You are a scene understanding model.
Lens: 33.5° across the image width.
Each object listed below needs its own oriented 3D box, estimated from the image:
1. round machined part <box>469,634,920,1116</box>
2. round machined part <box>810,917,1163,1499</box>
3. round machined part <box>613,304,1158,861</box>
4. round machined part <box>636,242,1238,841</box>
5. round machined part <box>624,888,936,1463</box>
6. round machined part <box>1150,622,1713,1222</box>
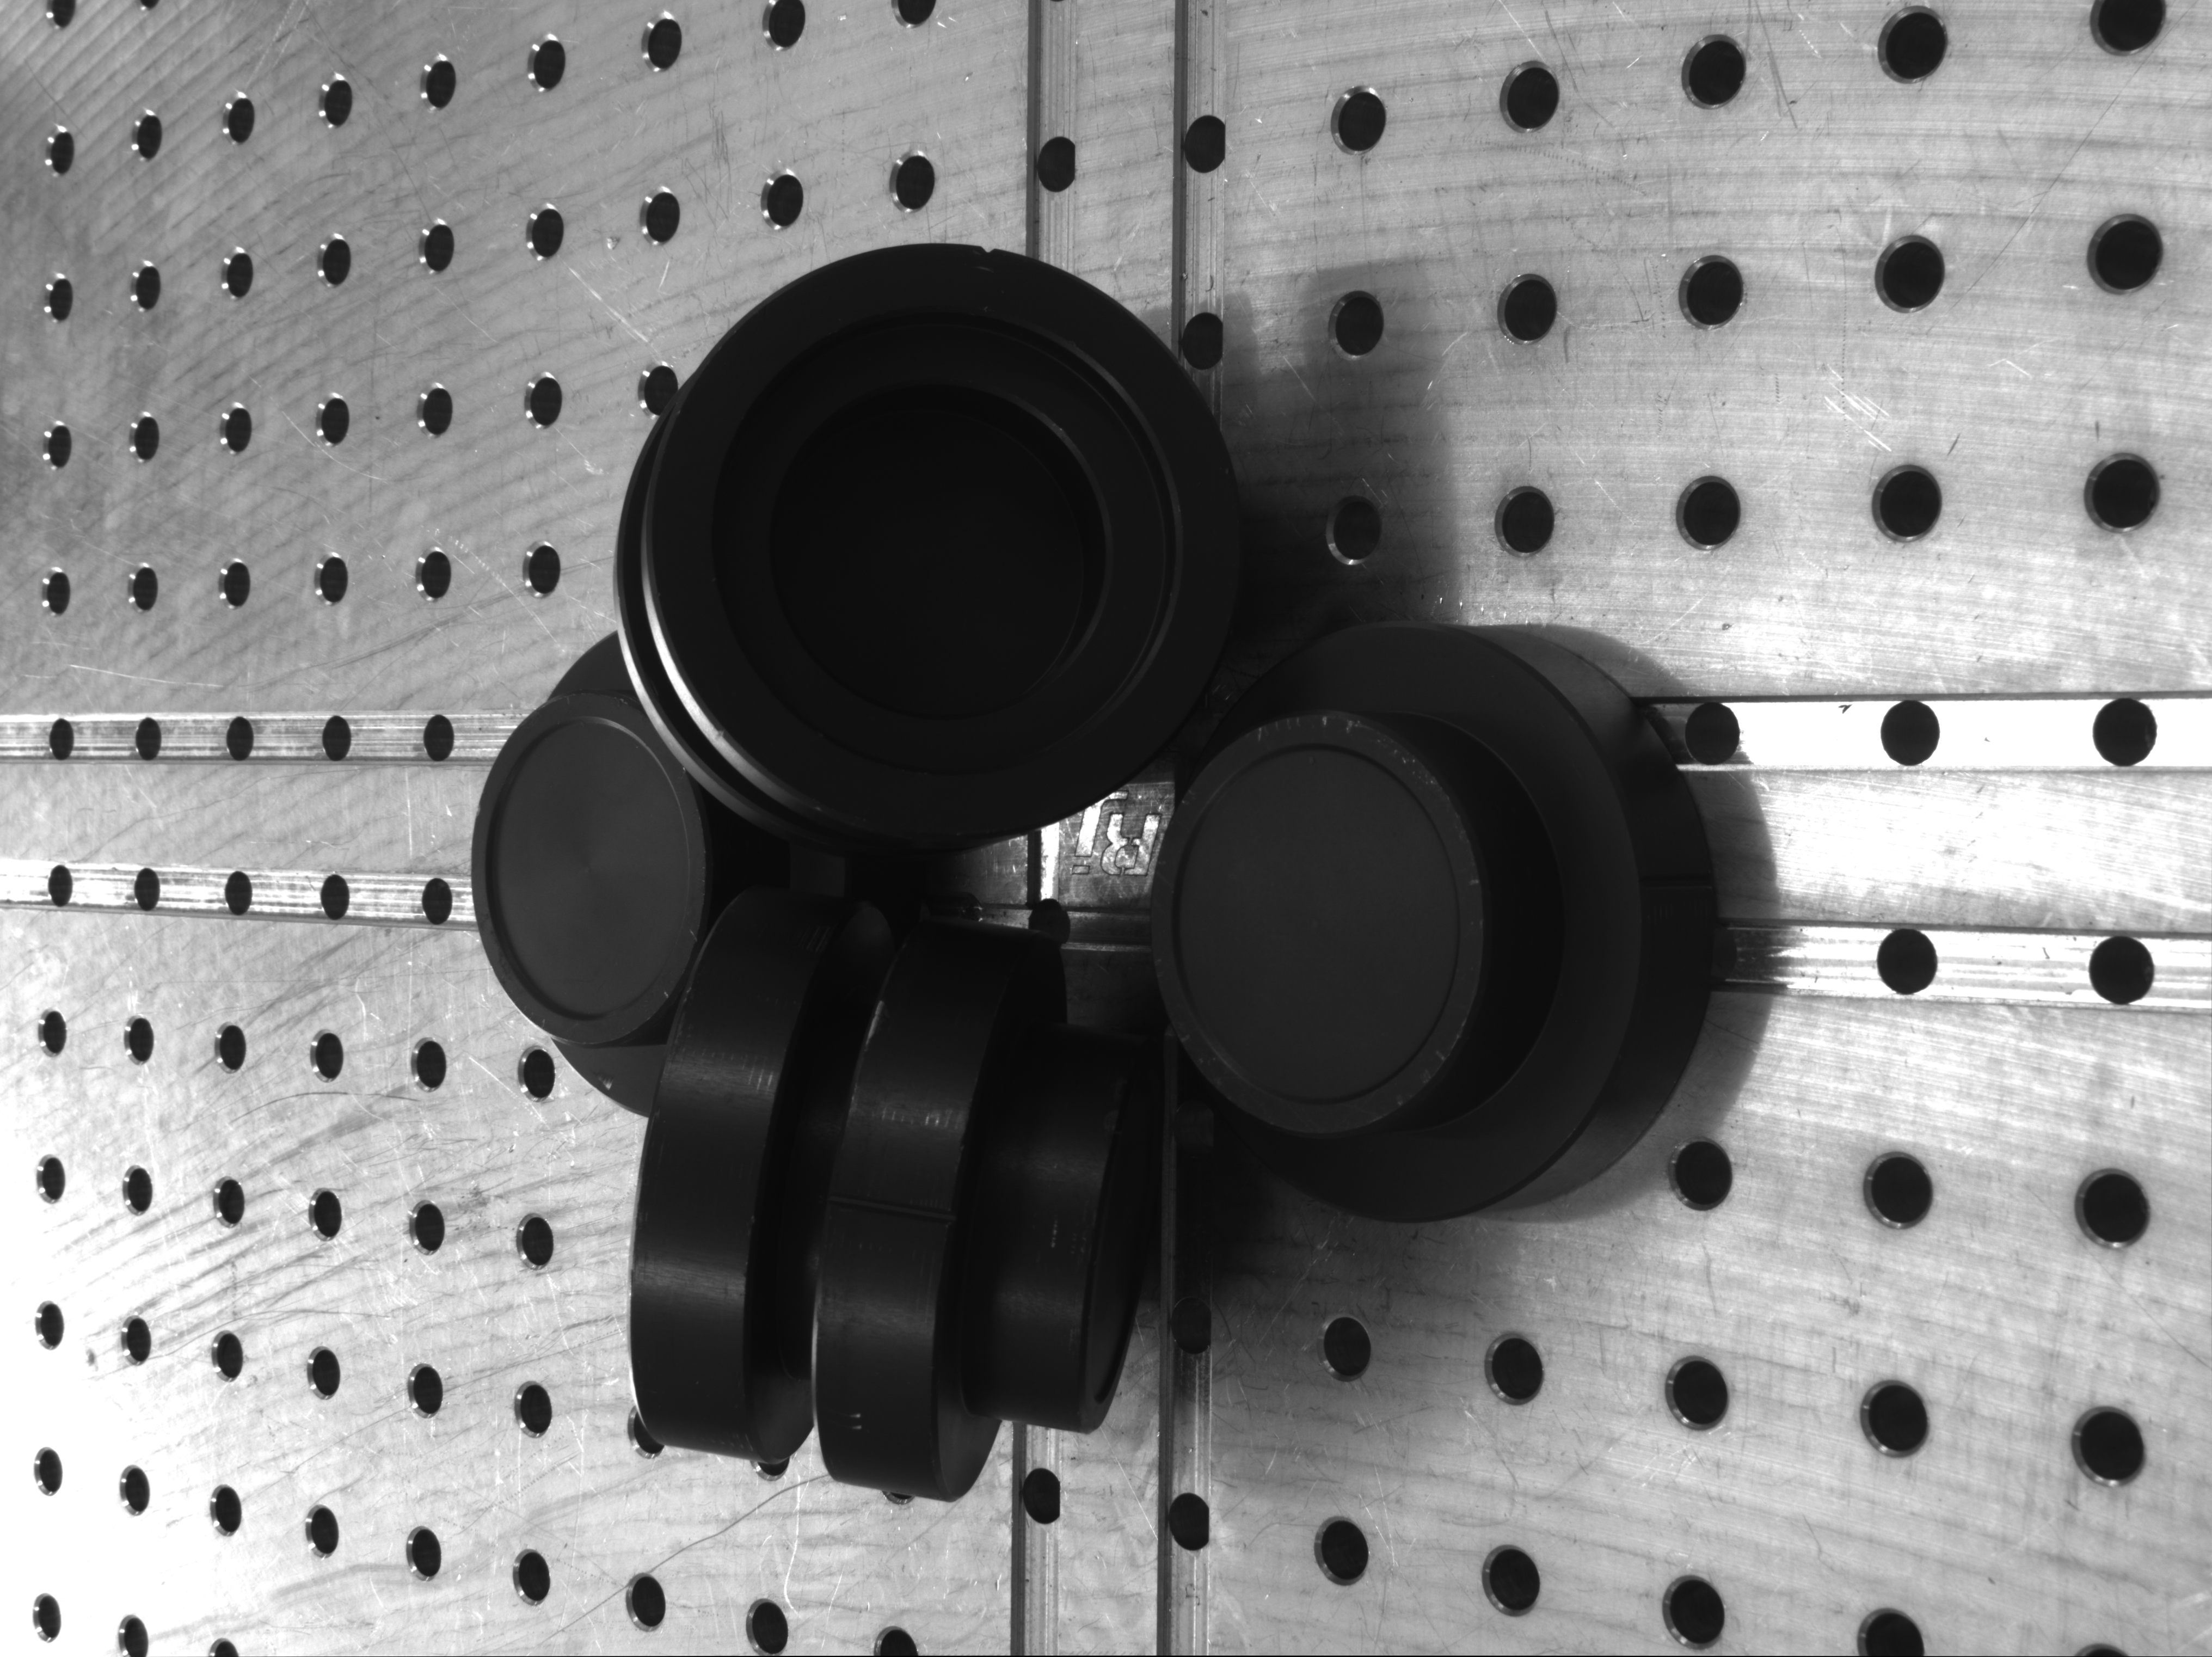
[{"bbox_3d":[-0.085,0.007,0.709,0.098,0.042,0.098,0,90,40],"label":"round machined part"},{"bbox_3d":[-0.017,0.066,0.628,0.042,0.098,0.098,9,97,8],"label":"round machined part"},{"bbox_3d":[-0.038,-0.043,0.648,0.042,0.098,0.098,156,110,-79],"label":"round machined part"},{"bbox_3d":[-0.030,-0.046,0.618,0.042,0.098,0.098,156,110,-79],"label":"round machined part"},{"bbox_3d":[-0.049,0.061,0.636,0.042,0.098,0.098,8,96,8],"label":"round machined part"},{"bbox_3d":[0.046,0.015,0.599,0.098,0.042,0.098,0,90,40],"label":"round machined part"}]
